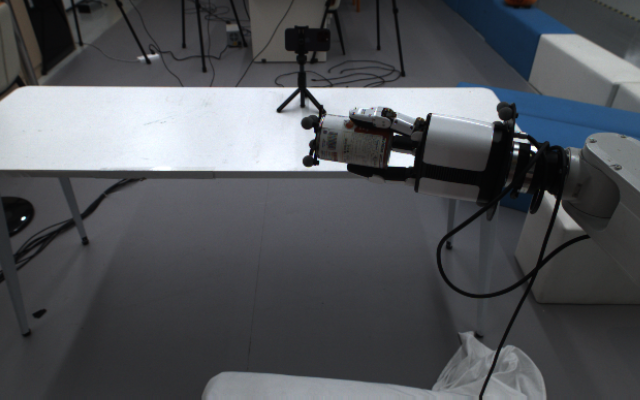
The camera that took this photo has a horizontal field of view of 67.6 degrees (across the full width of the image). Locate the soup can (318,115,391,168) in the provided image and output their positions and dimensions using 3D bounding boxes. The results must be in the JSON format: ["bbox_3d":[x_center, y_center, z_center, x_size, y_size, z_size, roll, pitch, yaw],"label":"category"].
[{"bbox_3d":[0.053,-0.085,0.693,0.101,0.067,0.067,9,35,9],"label":"soup can"}]
